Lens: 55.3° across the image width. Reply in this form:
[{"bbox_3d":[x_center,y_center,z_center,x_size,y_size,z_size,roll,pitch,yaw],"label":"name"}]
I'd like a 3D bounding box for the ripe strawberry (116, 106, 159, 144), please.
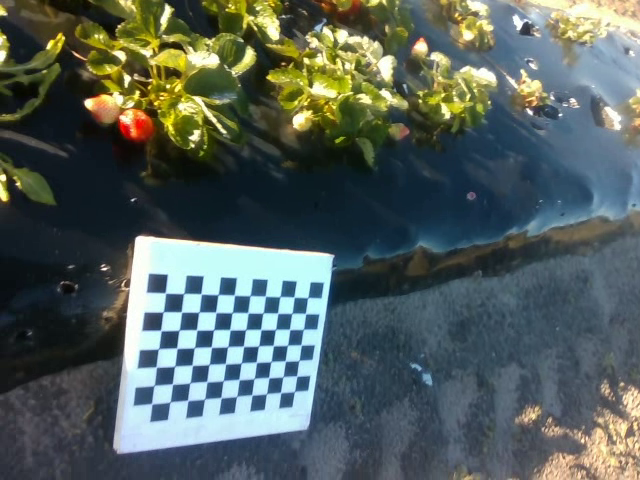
[{"bbox_3d":[-0.200,-0.125,0.672,0.040,0.038,0.056,-9,16,-7],"label":"ripe strawberry"}]
